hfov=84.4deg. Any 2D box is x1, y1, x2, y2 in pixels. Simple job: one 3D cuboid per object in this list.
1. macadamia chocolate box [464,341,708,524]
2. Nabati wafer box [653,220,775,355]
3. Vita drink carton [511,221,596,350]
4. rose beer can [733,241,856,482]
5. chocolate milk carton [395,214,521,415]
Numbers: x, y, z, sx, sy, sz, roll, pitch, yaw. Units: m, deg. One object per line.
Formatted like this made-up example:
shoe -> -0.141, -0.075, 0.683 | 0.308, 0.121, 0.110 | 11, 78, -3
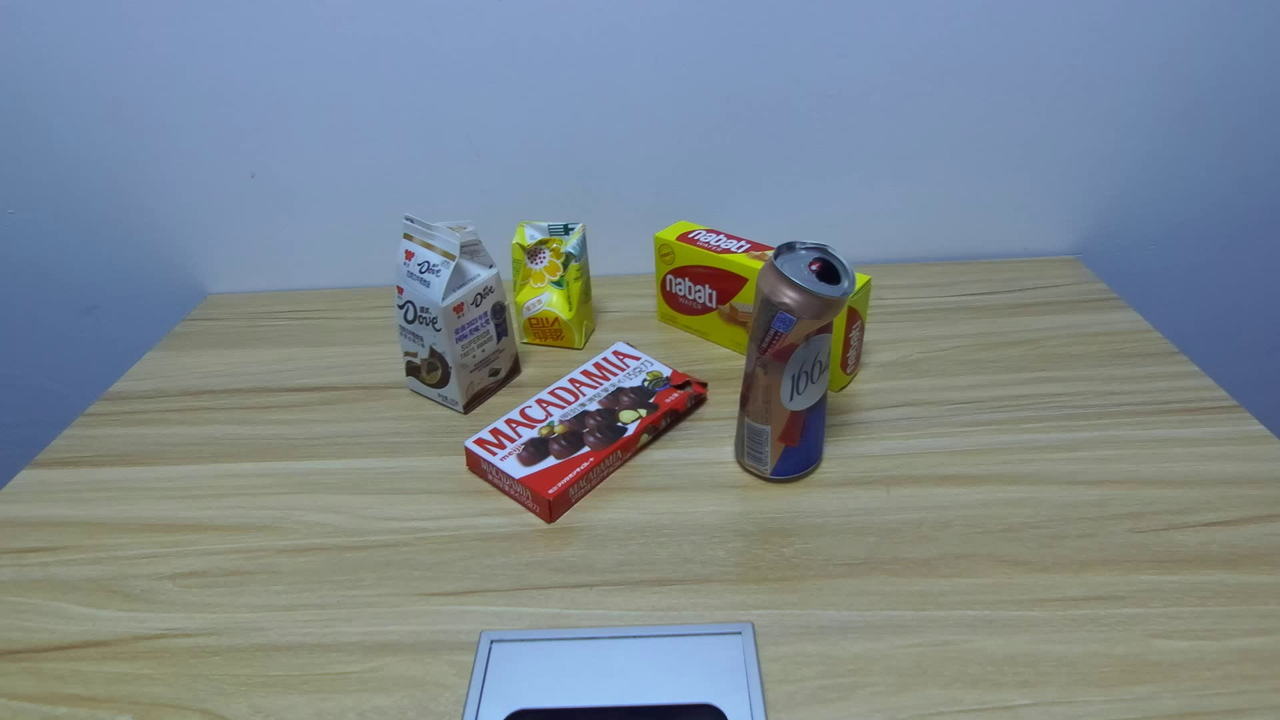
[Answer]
macadamia chocolate box -> -0.035, 0.047, 0.560 | 0.102, 0.027, 0.187 | 26, 45, 33
Nabati wafer box -> 0.102, -0.052, 0.630 | 0.202, 0.093, 0.042 | 24, 41, 33
Vita drink carton -> -0.083, -0.068, 0.655 | 0.071, 0.110, 0.046 | 5, 31, 16
rose beer can -> 0.101, 0.004, 0.482 | 0.070, 0.168, 0.069 | -3, 35, -6
chocolate milk carton -> -0.161, -0.045, 0.590 | 0.084, 0.155, 0.073 | 20, 41, 31
